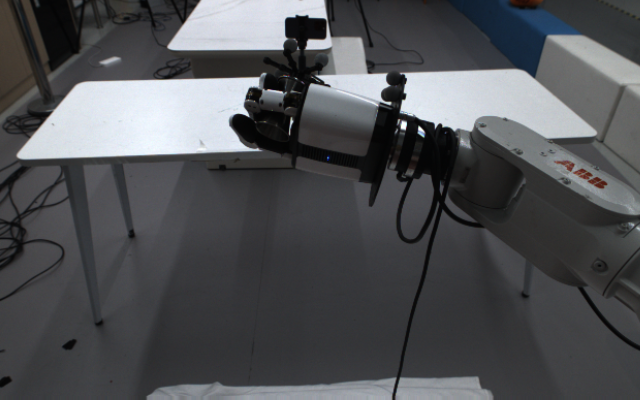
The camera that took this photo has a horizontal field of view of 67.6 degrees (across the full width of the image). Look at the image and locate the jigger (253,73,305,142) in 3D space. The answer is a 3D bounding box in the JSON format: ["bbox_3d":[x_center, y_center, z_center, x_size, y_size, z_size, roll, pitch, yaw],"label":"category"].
[{"bbox_3d":[-0.044,-0.112,0.581,0.043,0.043,0.071,15,70,18],"label":"jigger"}]
